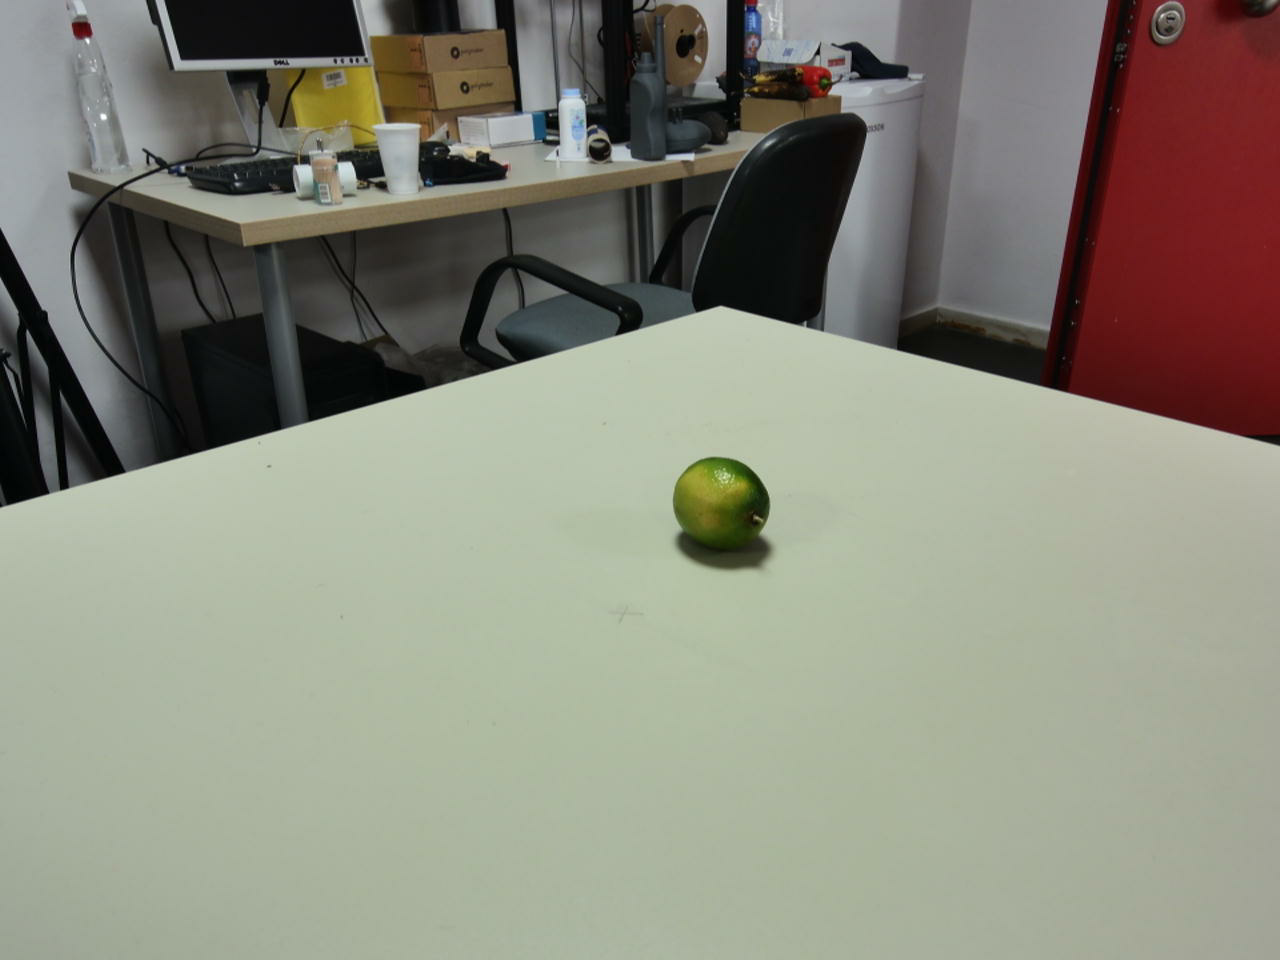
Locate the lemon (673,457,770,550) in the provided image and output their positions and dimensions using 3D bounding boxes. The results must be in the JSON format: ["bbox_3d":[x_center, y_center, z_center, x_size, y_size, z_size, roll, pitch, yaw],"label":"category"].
[{"bbox_3d":[0.046,0.013,0.563,0.054,0.050,0.055,3,24,8],"label":"lemon"}]
